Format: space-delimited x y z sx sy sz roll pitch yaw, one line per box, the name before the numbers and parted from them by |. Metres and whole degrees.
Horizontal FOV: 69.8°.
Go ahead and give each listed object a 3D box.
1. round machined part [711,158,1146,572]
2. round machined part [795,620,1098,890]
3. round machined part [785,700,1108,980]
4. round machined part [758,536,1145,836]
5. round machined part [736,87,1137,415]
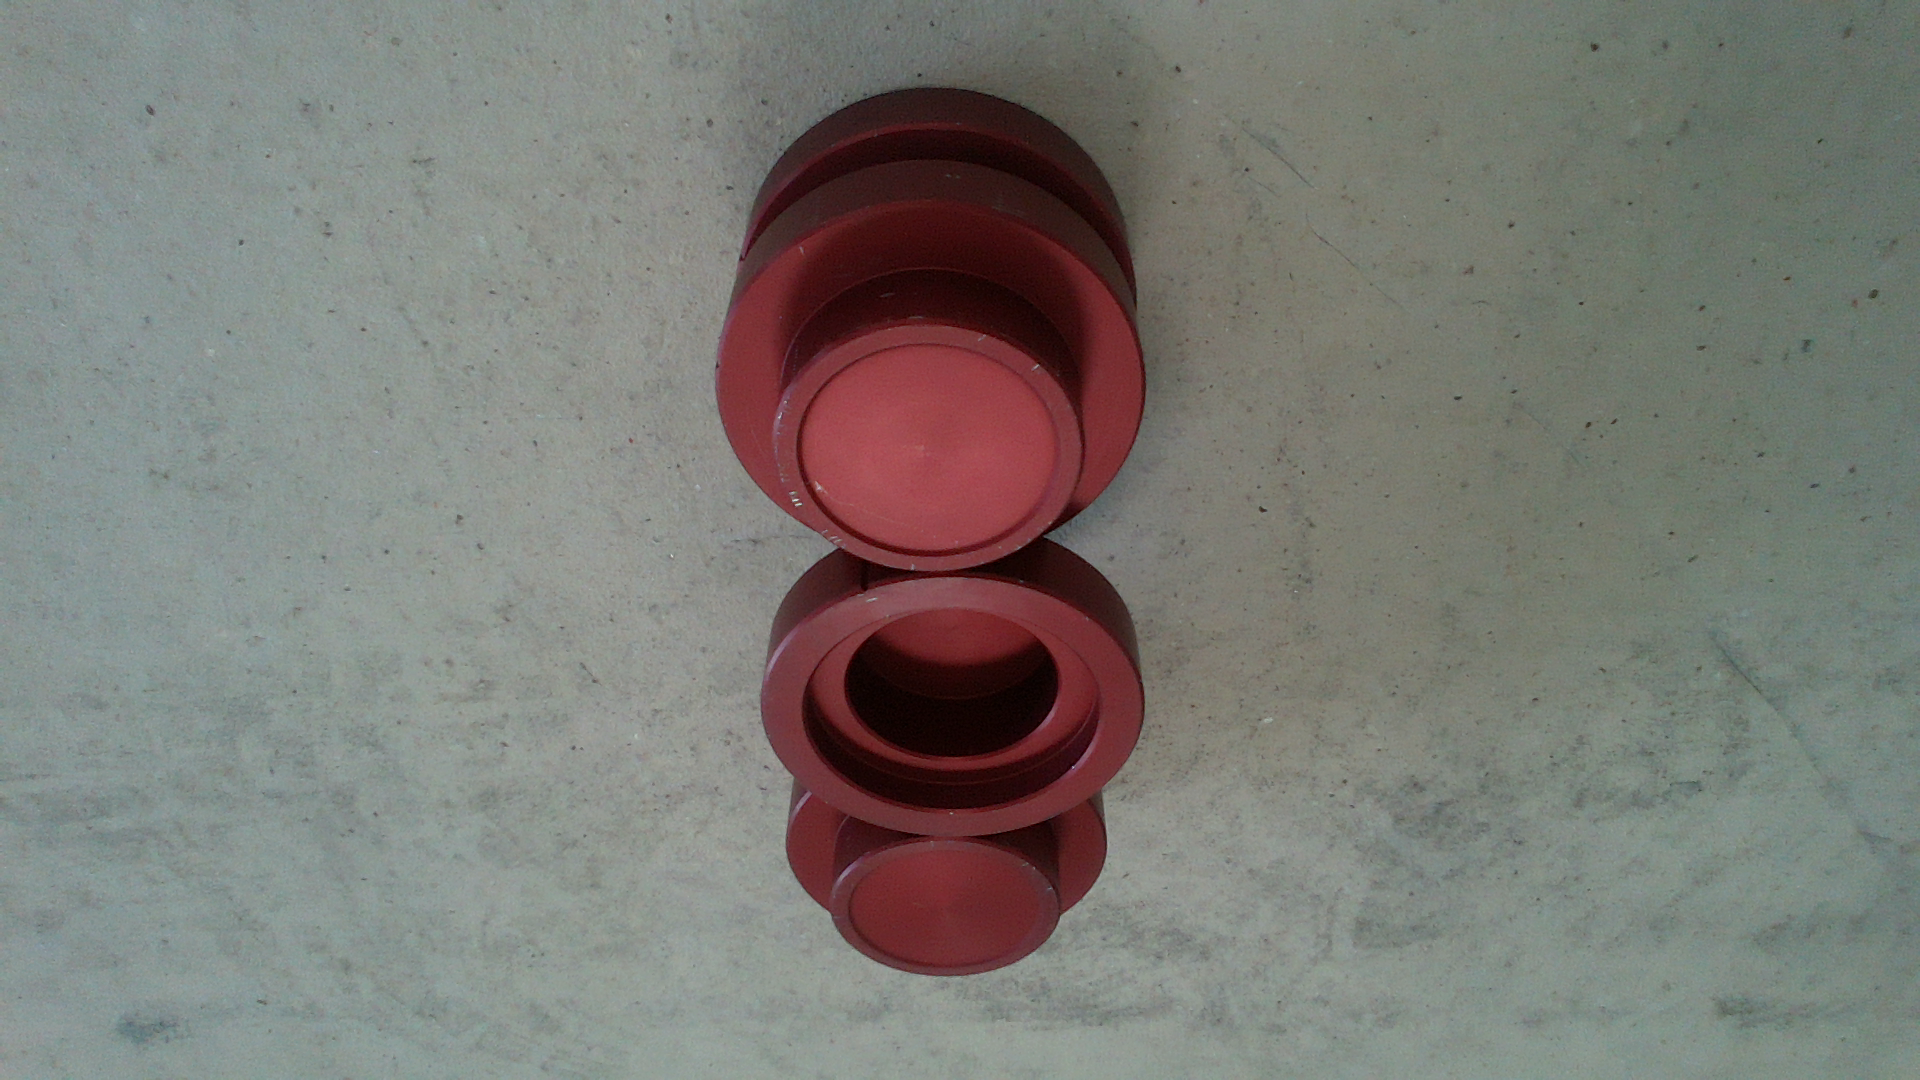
round machined part | -0.007 -0.031 0.310 0.098 0.042 0.098 0 131 1
round machined part | -0.004 0.076 0.445 0.098 0.042 0.098 0 129 1
round machined part | -0.004 0.096 0.417 0.098 0.042 0.098 0 131 1
round machined part | -0.002 0.032 0.365 0.098 0.042 0.098 0 130 0
round machined part | -0.006 -0.054 0.333 0.098 0.042 0.098 1 131 1
